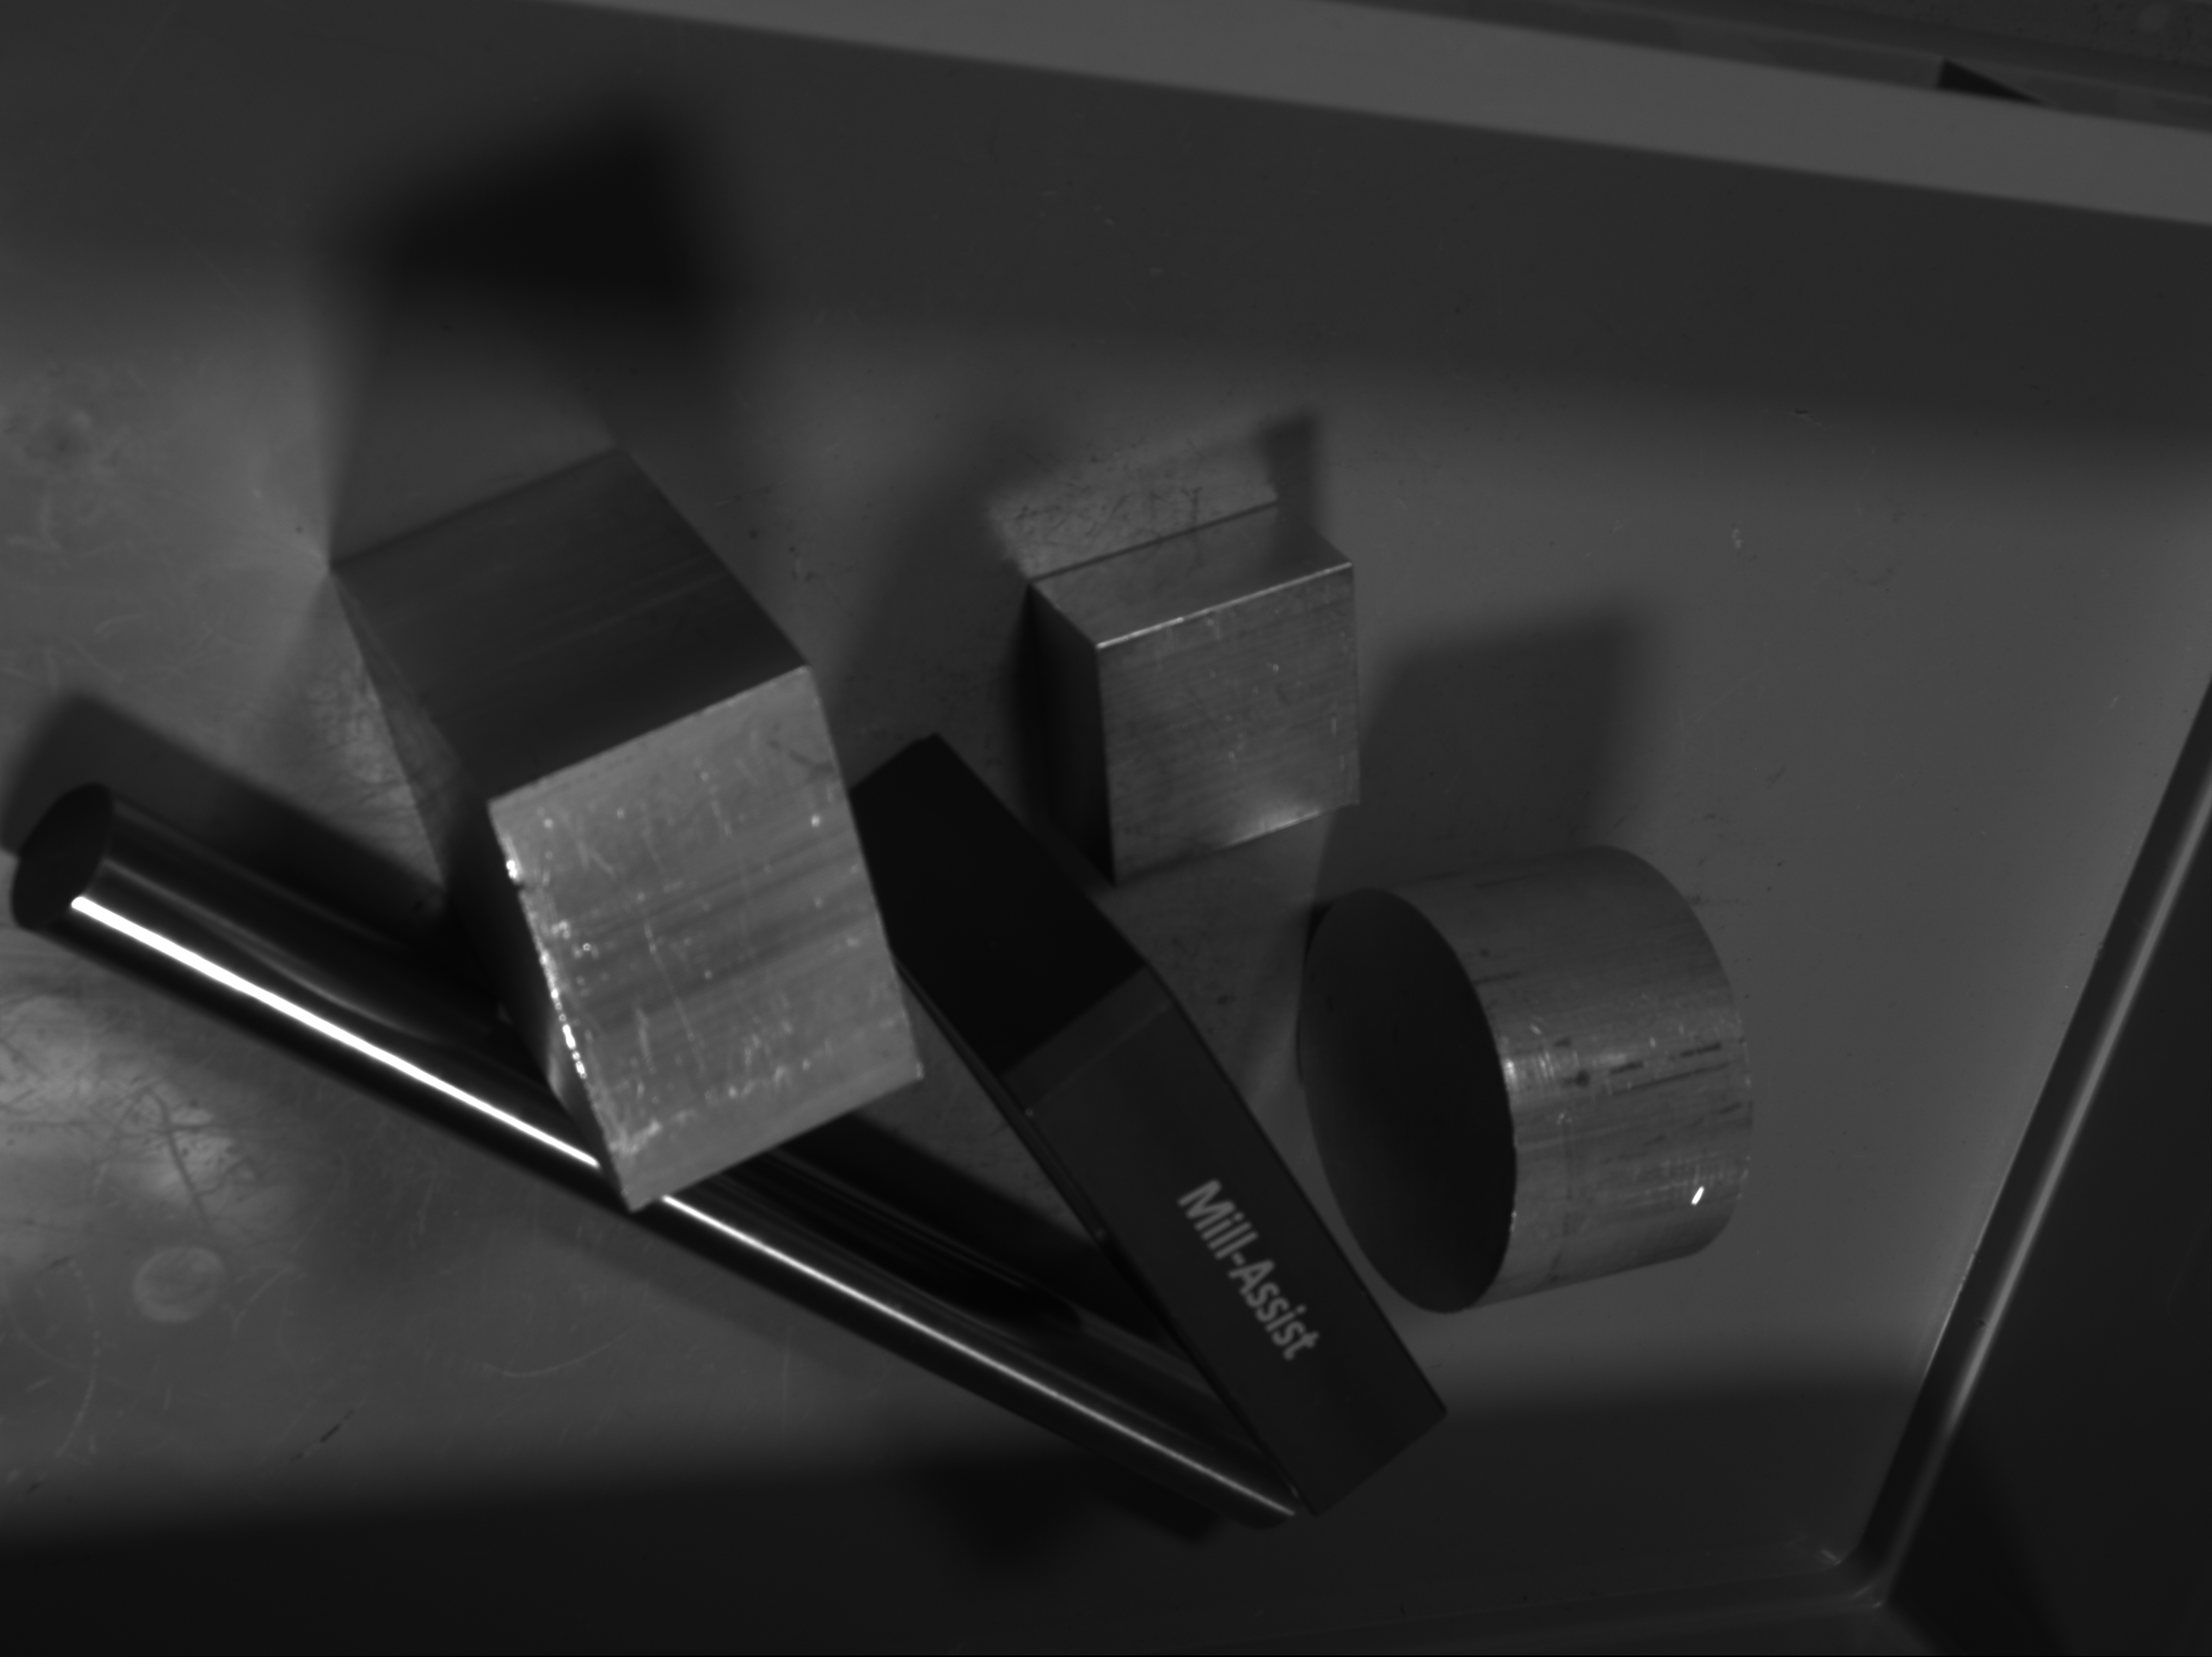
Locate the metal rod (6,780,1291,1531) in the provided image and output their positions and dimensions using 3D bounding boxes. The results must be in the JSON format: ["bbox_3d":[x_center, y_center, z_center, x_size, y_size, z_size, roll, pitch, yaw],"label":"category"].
[{"bbox_3d":[-0.063,0.068,0.655,0.301,0.025,0.025,34,99,-40],"label":"metal rod"}]

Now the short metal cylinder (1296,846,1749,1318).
[{"bbox_3d":[0.077,0.047,0.687,0.050,0.080,0.080,-11,123,-24],"label":"short metal cylinder"}]

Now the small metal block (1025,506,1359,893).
[{"bbox_3d":[0.016,-0.023,0.643,0.050,0.025,0.050,-19,126,-20],"label":"small metal block"}]

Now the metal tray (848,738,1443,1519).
[{"bbox_3d":[0.003,0.053,0.641,0.030,0.090,0.130,-38,130,-5],"label":"metal tray"}]

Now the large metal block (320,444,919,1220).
[{"bbox_3d":[-0.076,-0.001,0.569,0.050,0.080,0.080,-24,128,-16],"label":"large metal block"}]
